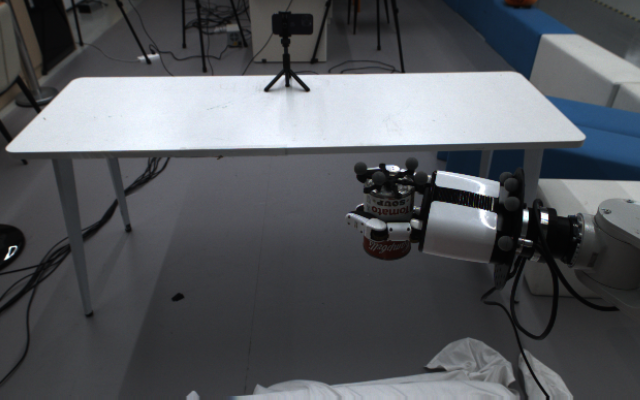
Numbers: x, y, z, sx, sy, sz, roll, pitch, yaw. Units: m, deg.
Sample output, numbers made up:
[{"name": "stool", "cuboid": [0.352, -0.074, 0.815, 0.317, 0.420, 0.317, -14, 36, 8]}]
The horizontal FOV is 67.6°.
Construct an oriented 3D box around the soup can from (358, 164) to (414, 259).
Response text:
[{"name": "soup can", "cuboid": [0.094, 0.021, 0.655, 0.067, 0.101, 0.067, -2, 32, 1]}]
